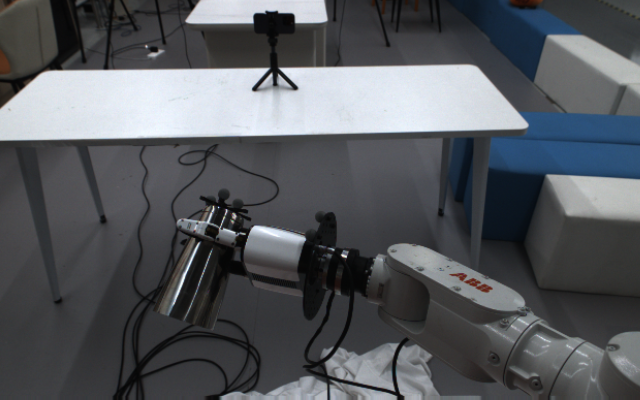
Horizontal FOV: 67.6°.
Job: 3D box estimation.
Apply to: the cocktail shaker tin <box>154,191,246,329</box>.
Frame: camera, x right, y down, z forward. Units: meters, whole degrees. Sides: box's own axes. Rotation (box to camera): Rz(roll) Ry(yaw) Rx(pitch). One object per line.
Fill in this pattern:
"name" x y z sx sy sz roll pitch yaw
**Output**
"cocktail shaker tin" -0.174 0.096 0.726 0.093 0.093 0.170 13 71 16
